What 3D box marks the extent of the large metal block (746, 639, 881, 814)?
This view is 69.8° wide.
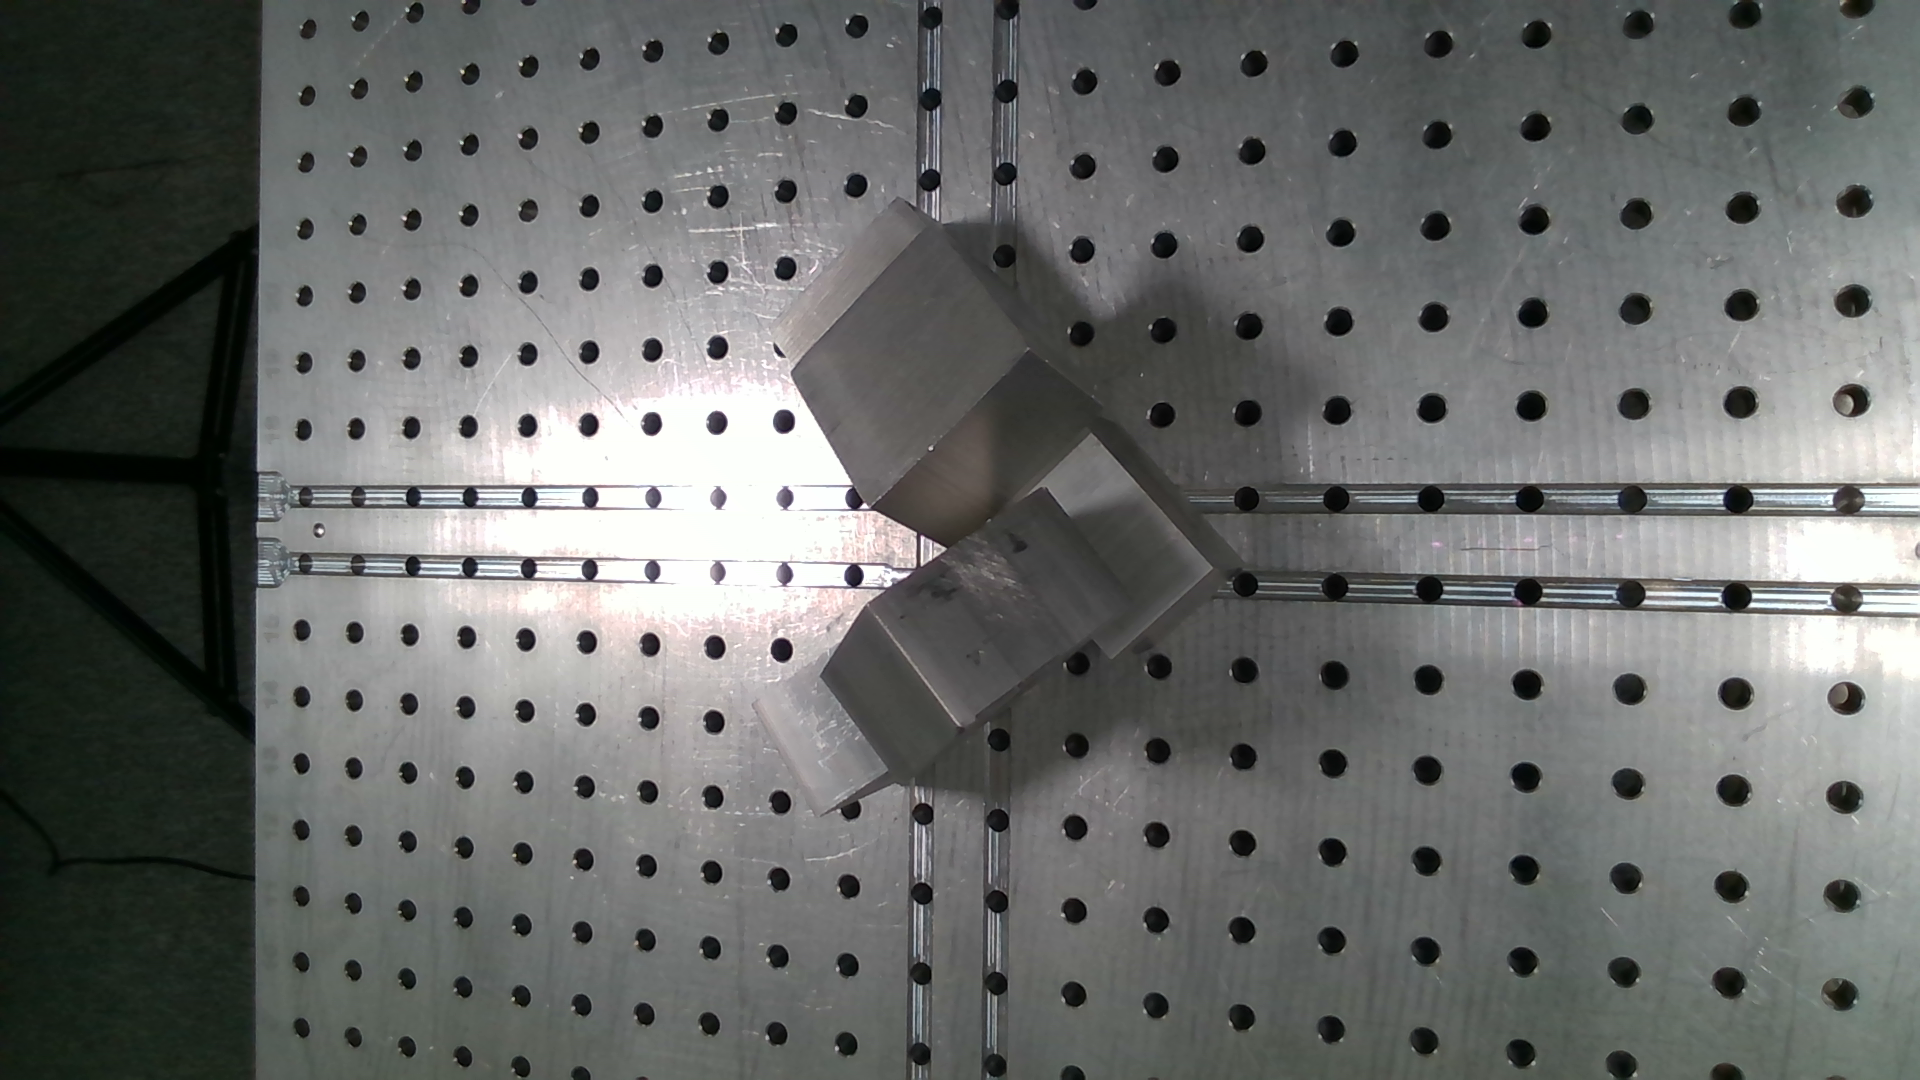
[{"bbox_3d":[-0.027,0.064,0.568,0.080,0.080,0.050,-36,79,17],"label":"large metal block"}]

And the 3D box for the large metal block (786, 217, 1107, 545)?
[{"bbox_3d":[-0.007,-0.056,0.507,0.080,0.050,0.080,-44,51,15],"label":"large metal block"}]

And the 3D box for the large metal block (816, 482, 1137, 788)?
[{"bbox_3d":[0.003,0.035,0.482,0.080,0.080,0.050,-34,81,-26],"label":"large metal block"}]

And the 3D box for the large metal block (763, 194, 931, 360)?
[{"bbox_3d":[-0.021,-0.083,0.581,0.080,0.050,0.080,-41,77,16],"label":"large metal block"}]

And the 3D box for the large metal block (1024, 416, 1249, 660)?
[{"bbox_3d":[0.061,-0.003,0.535,0.050,0.080,0.080,-44,76,15],"label":"large metal block"}]
